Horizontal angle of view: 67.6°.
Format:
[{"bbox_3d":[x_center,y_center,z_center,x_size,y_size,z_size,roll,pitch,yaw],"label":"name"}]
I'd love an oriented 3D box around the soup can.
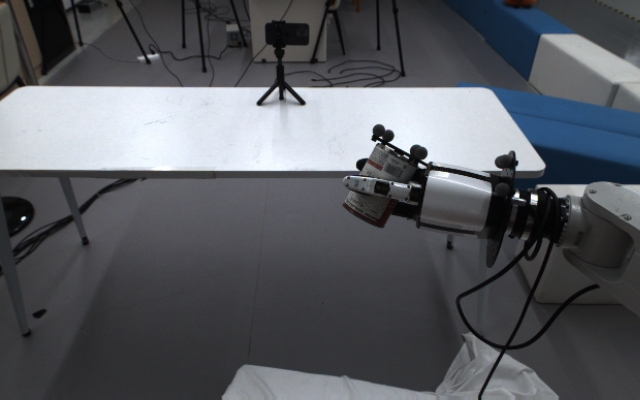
[{"bbox_3d":[0.086,-0.021,0.684,0.067,0.101,0.067,27,10,-5],"label":"soup can"}]
